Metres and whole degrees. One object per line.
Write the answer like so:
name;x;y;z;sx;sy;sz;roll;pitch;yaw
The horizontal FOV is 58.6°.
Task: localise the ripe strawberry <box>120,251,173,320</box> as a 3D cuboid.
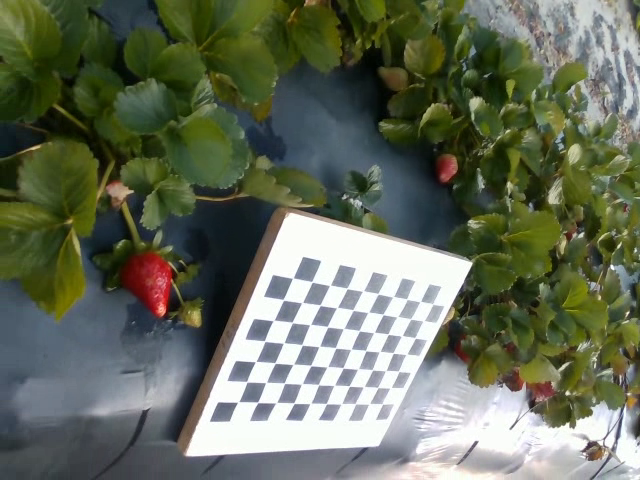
ripe strawberry;-0.143;0.042;0.482;0.043;0.057;0.052;-12;-31;-24
